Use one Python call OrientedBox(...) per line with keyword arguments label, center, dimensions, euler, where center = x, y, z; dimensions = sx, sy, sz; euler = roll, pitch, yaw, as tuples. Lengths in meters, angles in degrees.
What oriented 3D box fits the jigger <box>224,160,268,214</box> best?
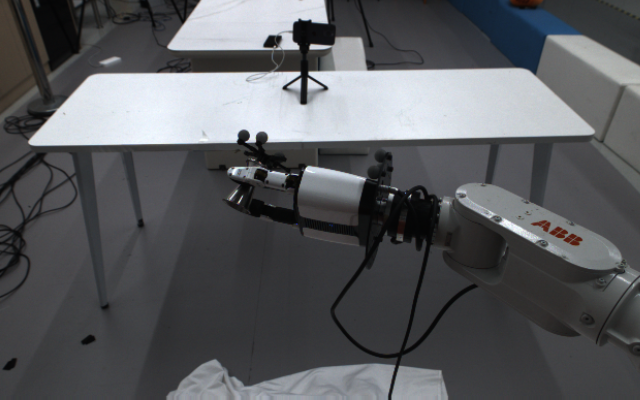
OrientedBox(label="jigger", center=(-0.104, -0.021, 0.682), dimensions=(0.043, 0.043, 0.071), euler=(20, 74, 24))
